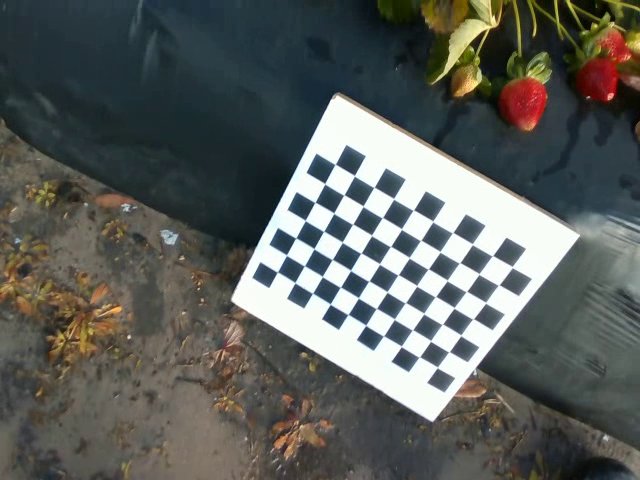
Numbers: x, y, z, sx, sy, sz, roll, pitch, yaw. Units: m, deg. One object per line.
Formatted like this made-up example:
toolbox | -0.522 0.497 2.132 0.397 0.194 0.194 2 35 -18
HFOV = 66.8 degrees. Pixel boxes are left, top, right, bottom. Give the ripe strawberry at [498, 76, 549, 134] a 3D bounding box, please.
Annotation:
ripe strawberry | 0.201 -0.130 0.473 0.050 0.065 0.050 -7 -39 18

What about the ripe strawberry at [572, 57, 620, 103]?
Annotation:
ripe strawberry | 0.282 -0.154 0.489 0.044 0.055 0.041 -32 -43 22
